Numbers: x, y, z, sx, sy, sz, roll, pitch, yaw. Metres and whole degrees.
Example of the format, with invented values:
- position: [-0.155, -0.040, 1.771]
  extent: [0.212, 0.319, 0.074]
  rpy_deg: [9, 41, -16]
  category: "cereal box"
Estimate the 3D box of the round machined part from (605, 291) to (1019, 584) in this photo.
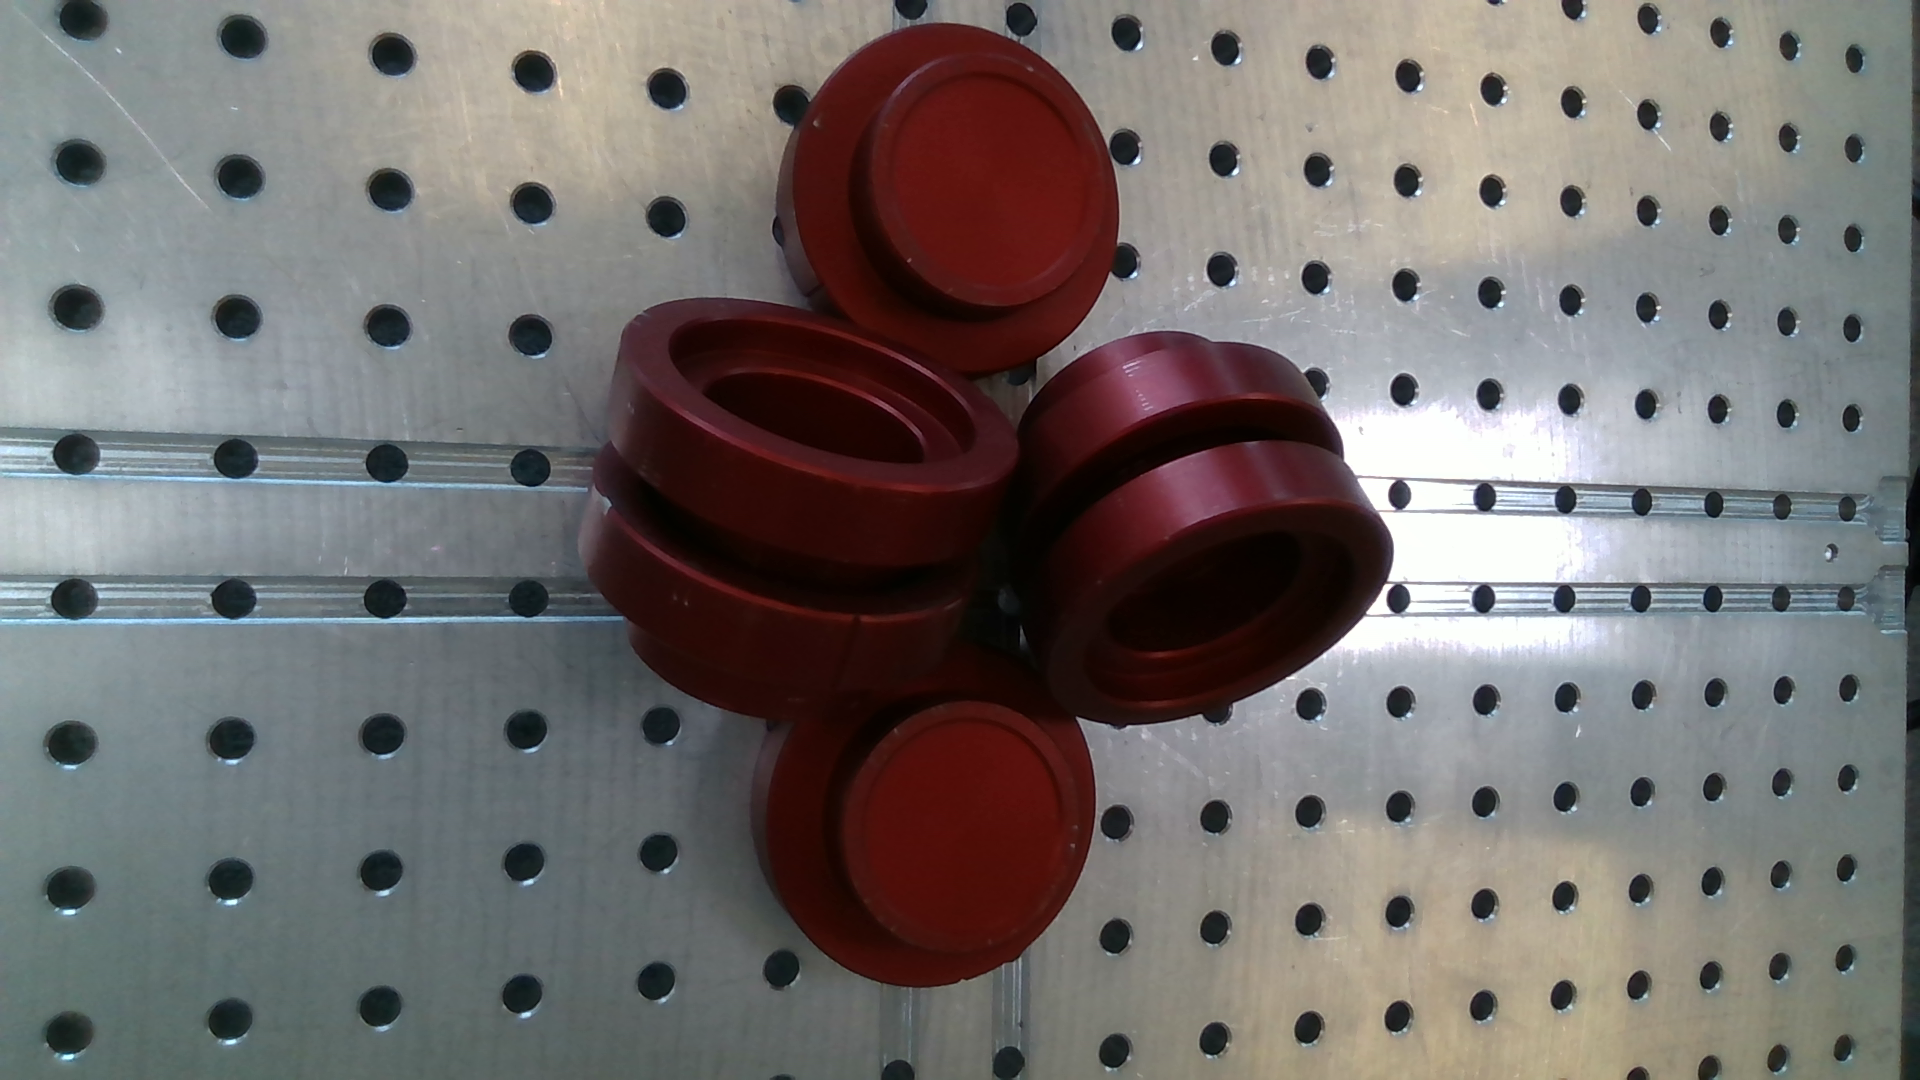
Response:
- position: [-0.038, -0.021, 0.338]
  extent: [0.098, 0.098, 0.042]
  rpy_deg: [10, 118, -20]
  category: "round machined part"

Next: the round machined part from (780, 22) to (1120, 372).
- position: [0.001, -0.097, 0.387]
  extent: [0.098, 0.042, 0.098]
  rpy_deg: [0, 90, -20]
  category: "round machined part"

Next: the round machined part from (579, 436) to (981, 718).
- position: [-0.048, 0.008, 0.350]
  extent: [0.098, 0.098, 0.042]
  rpy_deg: [11, 118, -20]
  category: "round machined part"

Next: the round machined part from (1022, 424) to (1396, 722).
- position: [0.063, 0.005, 0.374]
  extent: [0.098, 0.098, 0.042]
  rpy_deg: [-6, 52, -20]
  category: "round machined part"

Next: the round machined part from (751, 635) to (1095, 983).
- position: [-0.006, 0.075, 0.385]
  extent: [0.098, 0.042, 0.098]
  rpy_deg: [0, 90, -20]
  category: "round machined part"

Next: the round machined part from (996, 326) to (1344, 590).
- position: [0.054, -0.021, 0.389]
  extent: [0.098, 0.098, 0.042]
  rpy_deg: [-6, 52, -20]
  category: "round machined part"
